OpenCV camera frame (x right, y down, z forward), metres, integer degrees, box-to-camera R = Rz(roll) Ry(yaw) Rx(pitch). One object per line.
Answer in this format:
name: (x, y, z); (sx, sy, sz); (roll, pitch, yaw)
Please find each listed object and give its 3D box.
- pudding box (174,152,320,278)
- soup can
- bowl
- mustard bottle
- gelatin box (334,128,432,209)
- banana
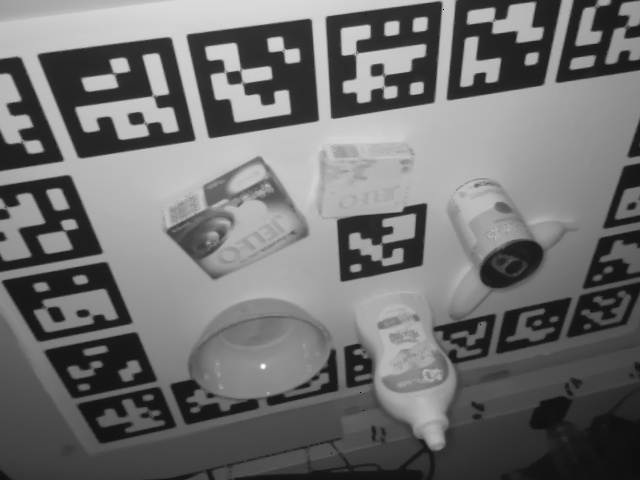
pudding box: (-0.070, -0.022, 0.678); (0.113, 0.039, 0.090); (-28, 127, 9)
soup can: (0.204, -0.004, 0.719); (0.068, 0.102, 0.067); (-7, 134, -7)
bowl: (-0.065, 0.121, 0.799); (0.163, 0.055, 0.160); (-10, 133, -10)
mustard bottle: (0.119, 0.157, 0.772); (0.097, 0.192, 0.058); (-9, 135, -6)
gelatin box: (0.061, -0.070, 0.680); (0.090, 0.030, 0.072); (-5, 128, -12)
banana: (0.244, 0.044, 0.829); (0.075, 0.039, 0.195); (20, 123, -41)
